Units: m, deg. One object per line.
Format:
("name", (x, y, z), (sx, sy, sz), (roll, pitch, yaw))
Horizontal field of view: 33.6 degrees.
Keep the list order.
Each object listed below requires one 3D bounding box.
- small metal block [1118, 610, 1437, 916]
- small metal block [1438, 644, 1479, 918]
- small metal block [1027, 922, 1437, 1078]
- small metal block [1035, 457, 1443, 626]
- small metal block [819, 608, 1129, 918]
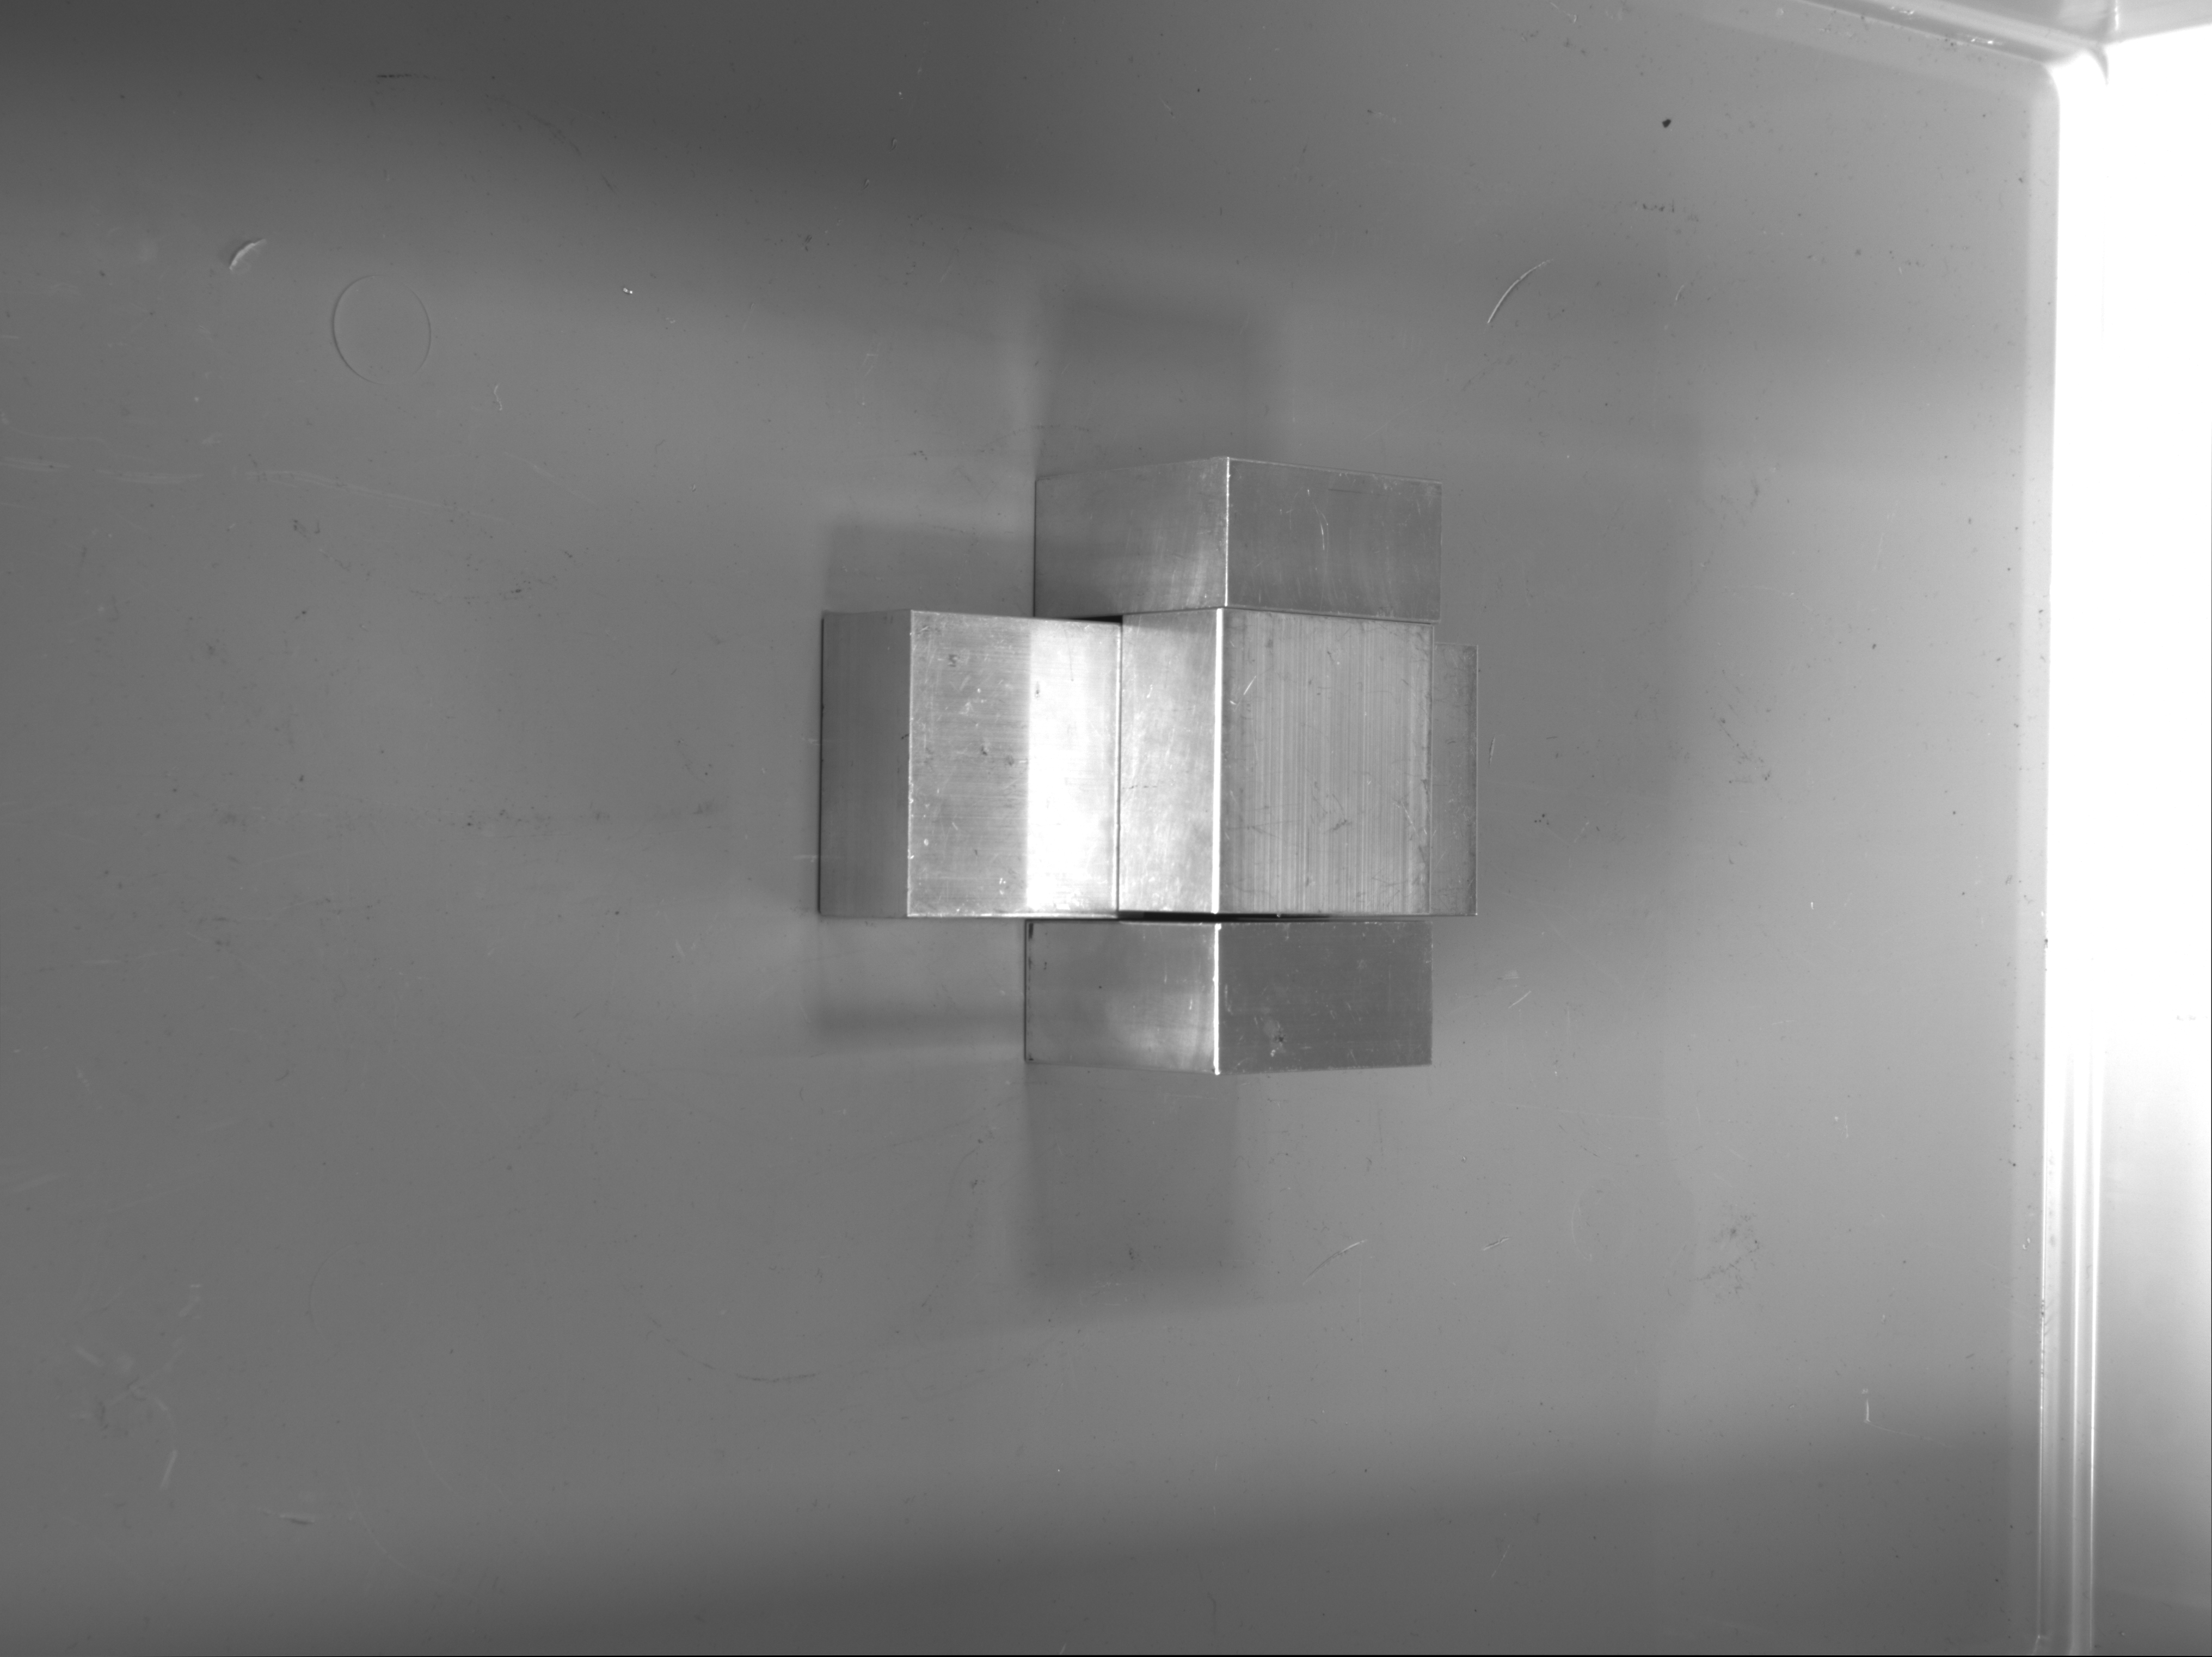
("small metal block", (0.030, -0.010, 0.625), (0.050, 0.025, 0.050), (1, 89, -40))
("small metal block", (0.041, -0.009, 0.668), (0.050, 0.025, 0.050), (1, 89, -40))
("small metal block", (0.022, 0.029, 0.634), (0.050, 0.050, 0.025), (1, 89, -40))
("small metal block", (0.023, -0.048, 0.636), (0.050, 0.050, 0.025), (1, 89, -40))
("small metal block", (-0.020, -0.010, 0.617), (0.050, 0.025, 0.050), (1, 89, -40))
